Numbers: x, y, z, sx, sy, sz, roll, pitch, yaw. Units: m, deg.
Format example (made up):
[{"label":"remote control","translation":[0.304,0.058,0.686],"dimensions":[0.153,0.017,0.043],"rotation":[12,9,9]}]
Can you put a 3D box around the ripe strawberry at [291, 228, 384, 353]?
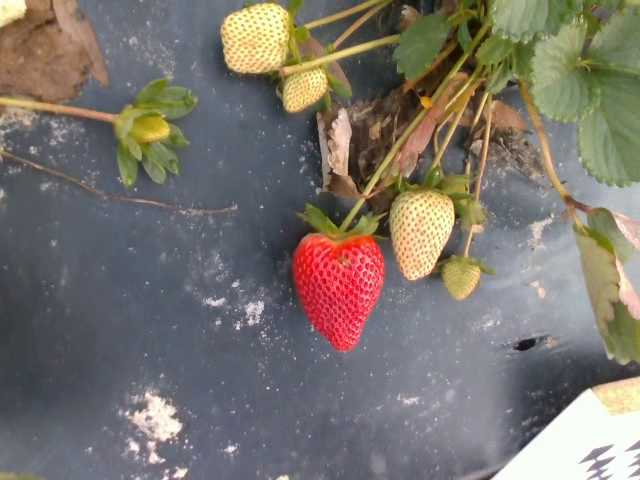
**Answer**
[{"label":"ripe strawberry","translation":[0.010,0.022,0.286],"dimensions":[0.050,0.059,0.034],"rotation":[-8,-1,-17]}]
